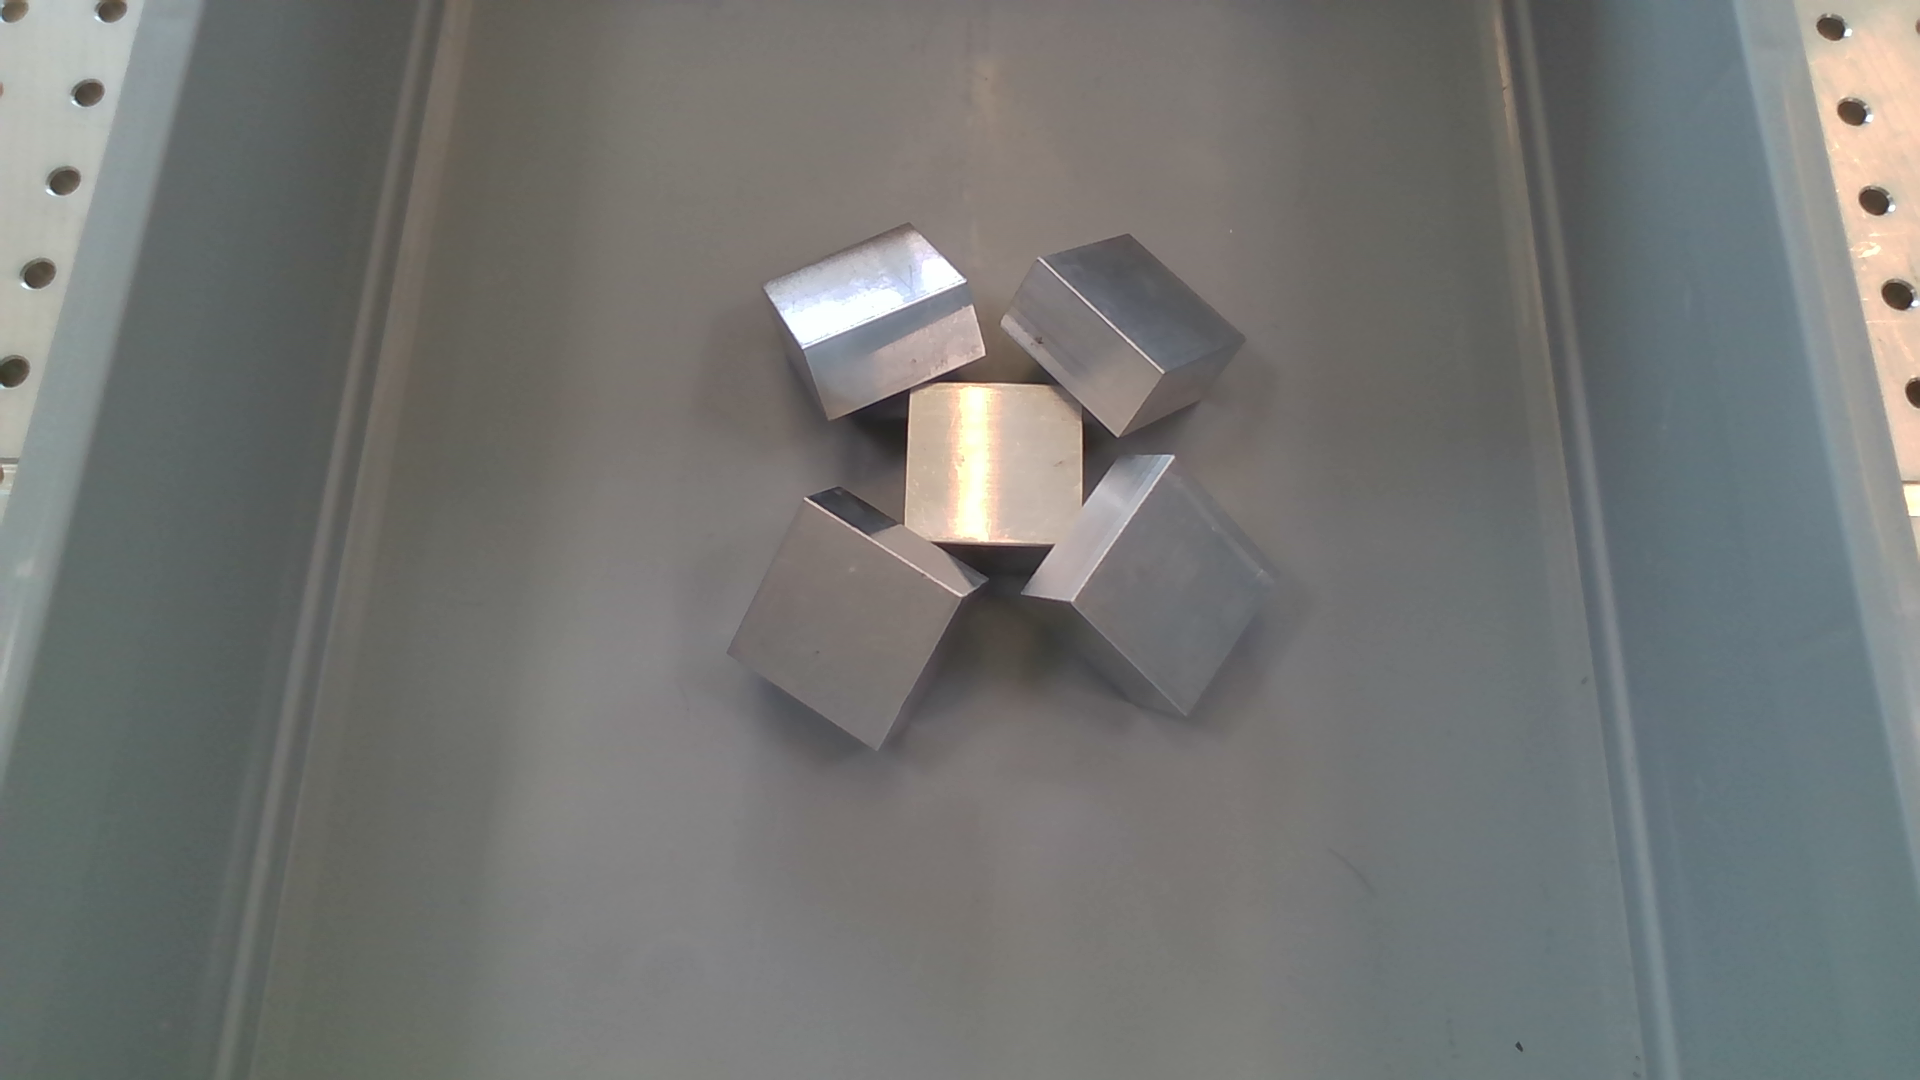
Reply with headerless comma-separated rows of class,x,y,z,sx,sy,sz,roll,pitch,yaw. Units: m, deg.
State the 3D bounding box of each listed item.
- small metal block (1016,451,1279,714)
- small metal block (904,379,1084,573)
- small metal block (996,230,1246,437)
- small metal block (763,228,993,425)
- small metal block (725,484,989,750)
small metal block,0.052,0.011,0.377,0.050,0.025,0.050,44,73,-25
small metal block,0.010,-0.018,0.400,0.050,0.025,0.050,1,70,1
small metal block,0.048,-0.062,0.403,0.050,0.025,0.050,45,39,15
small metal block,-0.025,-0.064,0.404,0.050,0.025,0.050,-25,34,-8
small metal block,-0.028,0.020,0.375,0.050,0.025,0.050,32,108,10
